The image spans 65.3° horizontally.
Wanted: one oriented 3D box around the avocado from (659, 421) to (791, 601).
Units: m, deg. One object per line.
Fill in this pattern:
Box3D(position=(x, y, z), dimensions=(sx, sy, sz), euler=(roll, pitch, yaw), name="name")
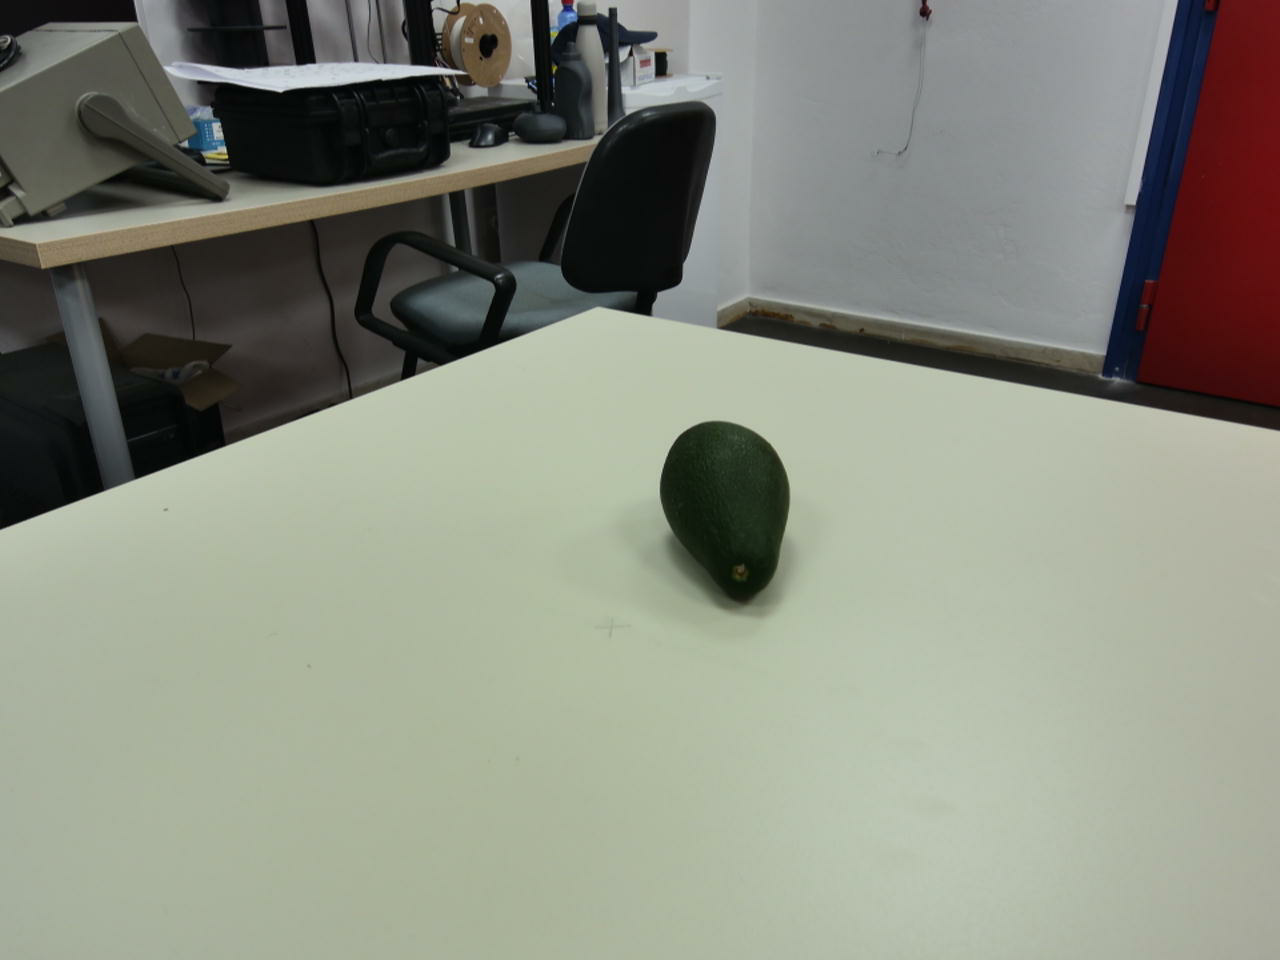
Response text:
Box3D(position=(0.043, 0.011, 0.532), dimensions=(0.073, 0.071, 0.109), euler=(6, 25, 13), name="avocado")
